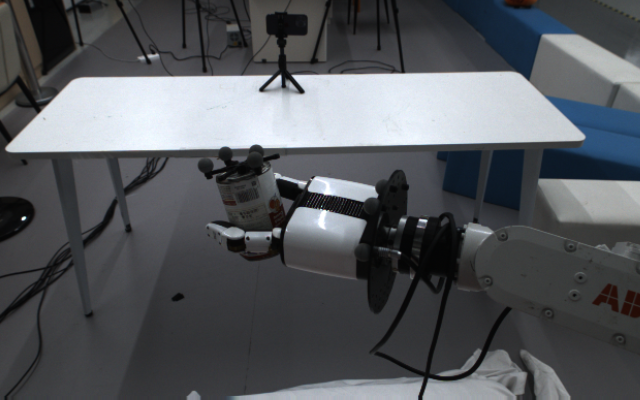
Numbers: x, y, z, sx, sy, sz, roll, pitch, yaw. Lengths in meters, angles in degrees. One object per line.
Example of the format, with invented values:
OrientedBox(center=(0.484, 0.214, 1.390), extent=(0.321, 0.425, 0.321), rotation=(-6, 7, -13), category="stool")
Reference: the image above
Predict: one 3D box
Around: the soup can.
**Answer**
OrientedBox(center=(-0.074, 0.012, 0.569), extent=(0.067, 0.101, 0.067), rotation=(-13, 20, 5), category="soup can")
